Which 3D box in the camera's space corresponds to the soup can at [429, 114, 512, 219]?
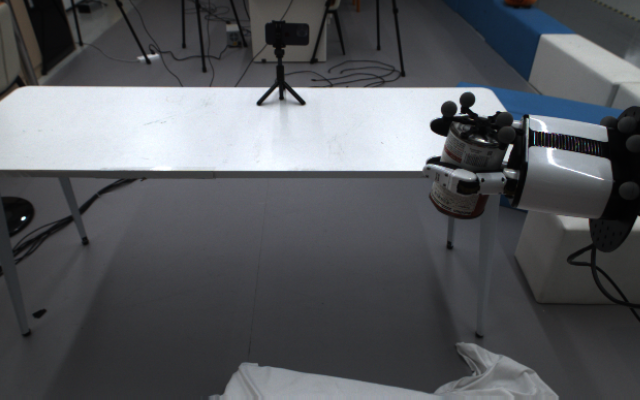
[{"bbox_3d":[0.174,-0.039,0.564,0.067,0.101,0.067,5,37,-4],"label":"soup can"}]
